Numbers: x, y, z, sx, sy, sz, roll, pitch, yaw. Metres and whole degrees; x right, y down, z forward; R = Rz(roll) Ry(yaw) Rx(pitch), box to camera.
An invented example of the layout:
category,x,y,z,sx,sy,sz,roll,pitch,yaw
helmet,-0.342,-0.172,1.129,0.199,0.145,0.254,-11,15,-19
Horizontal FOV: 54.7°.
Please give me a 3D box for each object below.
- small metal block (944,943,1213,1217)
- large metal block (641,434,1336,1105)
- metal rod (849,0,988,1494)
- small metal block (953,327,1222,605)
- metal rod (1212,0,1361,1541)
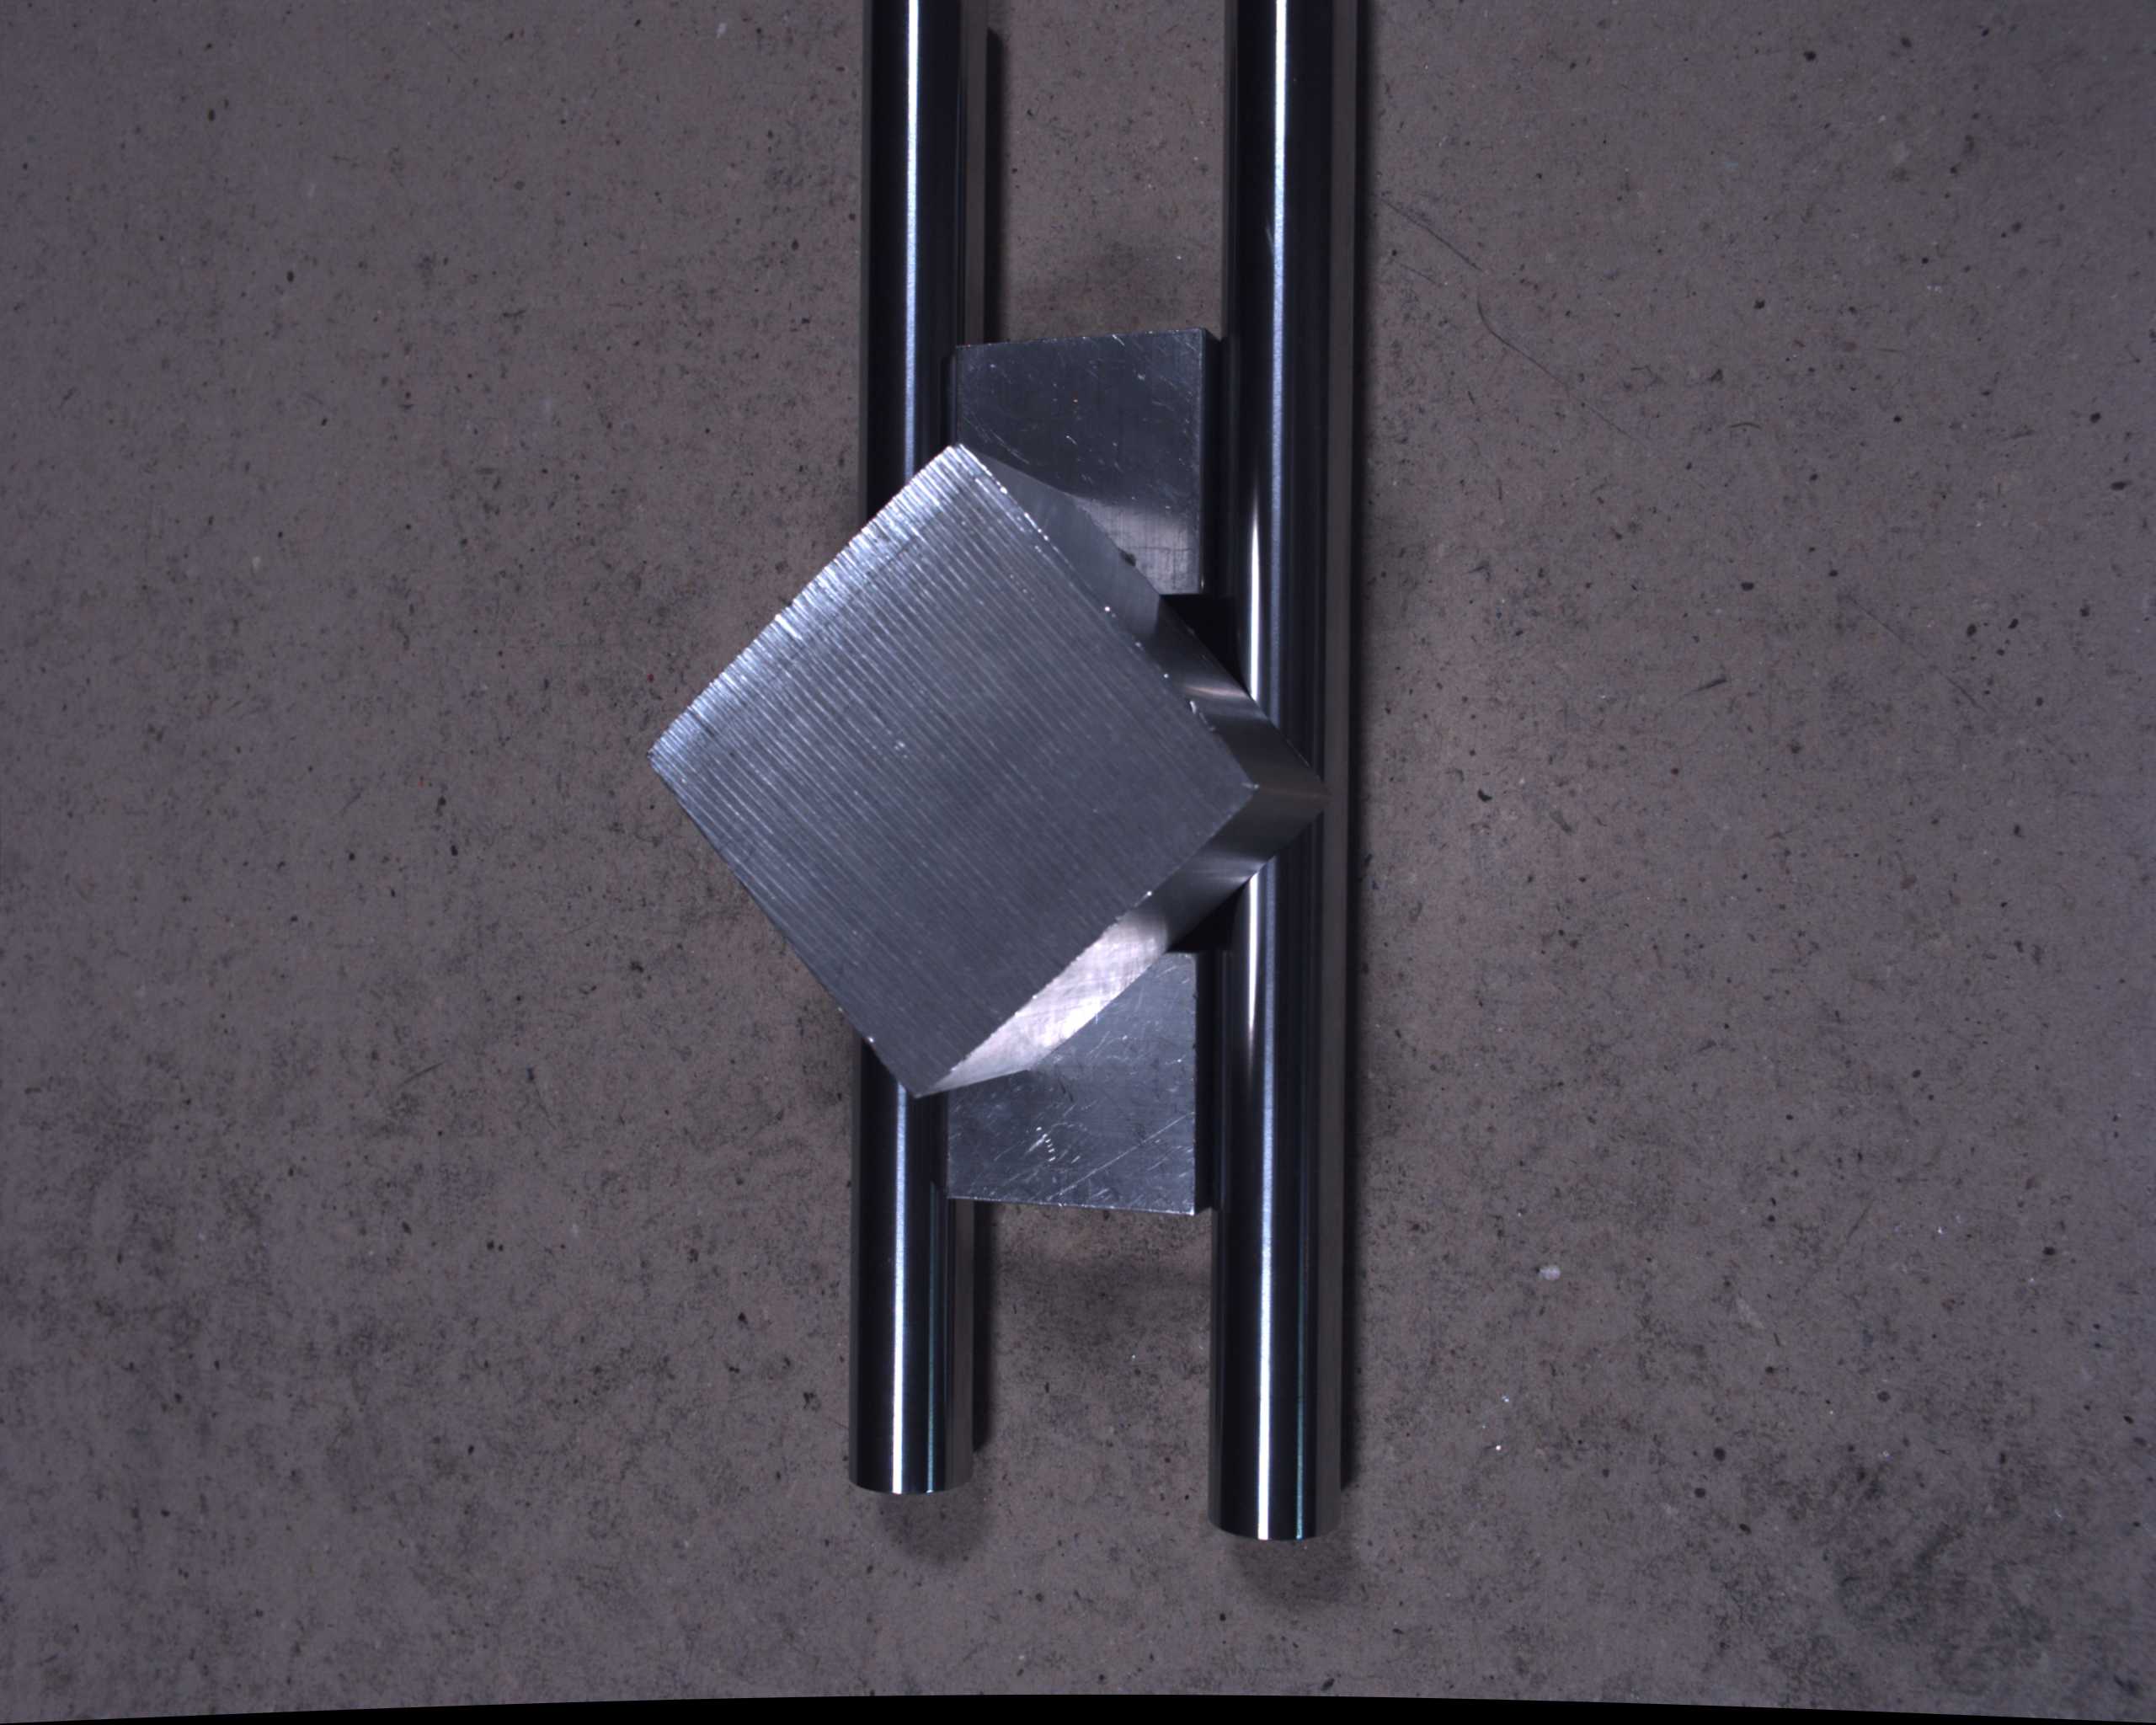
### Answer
category,x,y,z,sx,sy,sz,roll,pitch,yaw
small metal block,0.002,0.041,0.407,0.050,0.025,0.050,1,90,19
large metal block,-0.015,-0.015,0.373,0.080,0.050,0.080,-43,77,15
metal rod,-0.032,-0.025,0.421,0.025,0.025,0.298,1,90,19
small metal block,0.004,-0.075,0.407,0.050,0.025,0.050,1,90,19
metal rod,0.040,-0.024,0.396,0.025,0.025,0.298,1,90,19
